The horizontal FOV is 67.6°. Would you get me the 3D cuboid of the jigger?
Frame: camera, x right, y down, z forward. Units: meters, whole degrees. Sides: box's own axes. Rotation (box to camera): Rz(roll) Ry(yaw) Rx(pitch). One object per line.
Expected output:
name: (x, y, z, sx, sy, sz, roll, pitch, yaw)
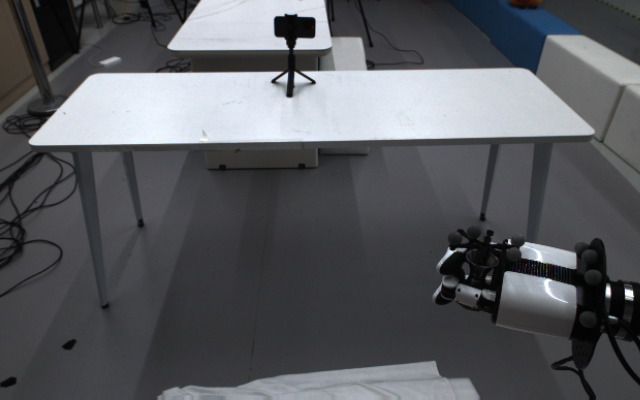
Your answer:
jigger: (0.207, 0.102, 0.631, 0.043, 0.071, 0.043, 3, 25, -1)
